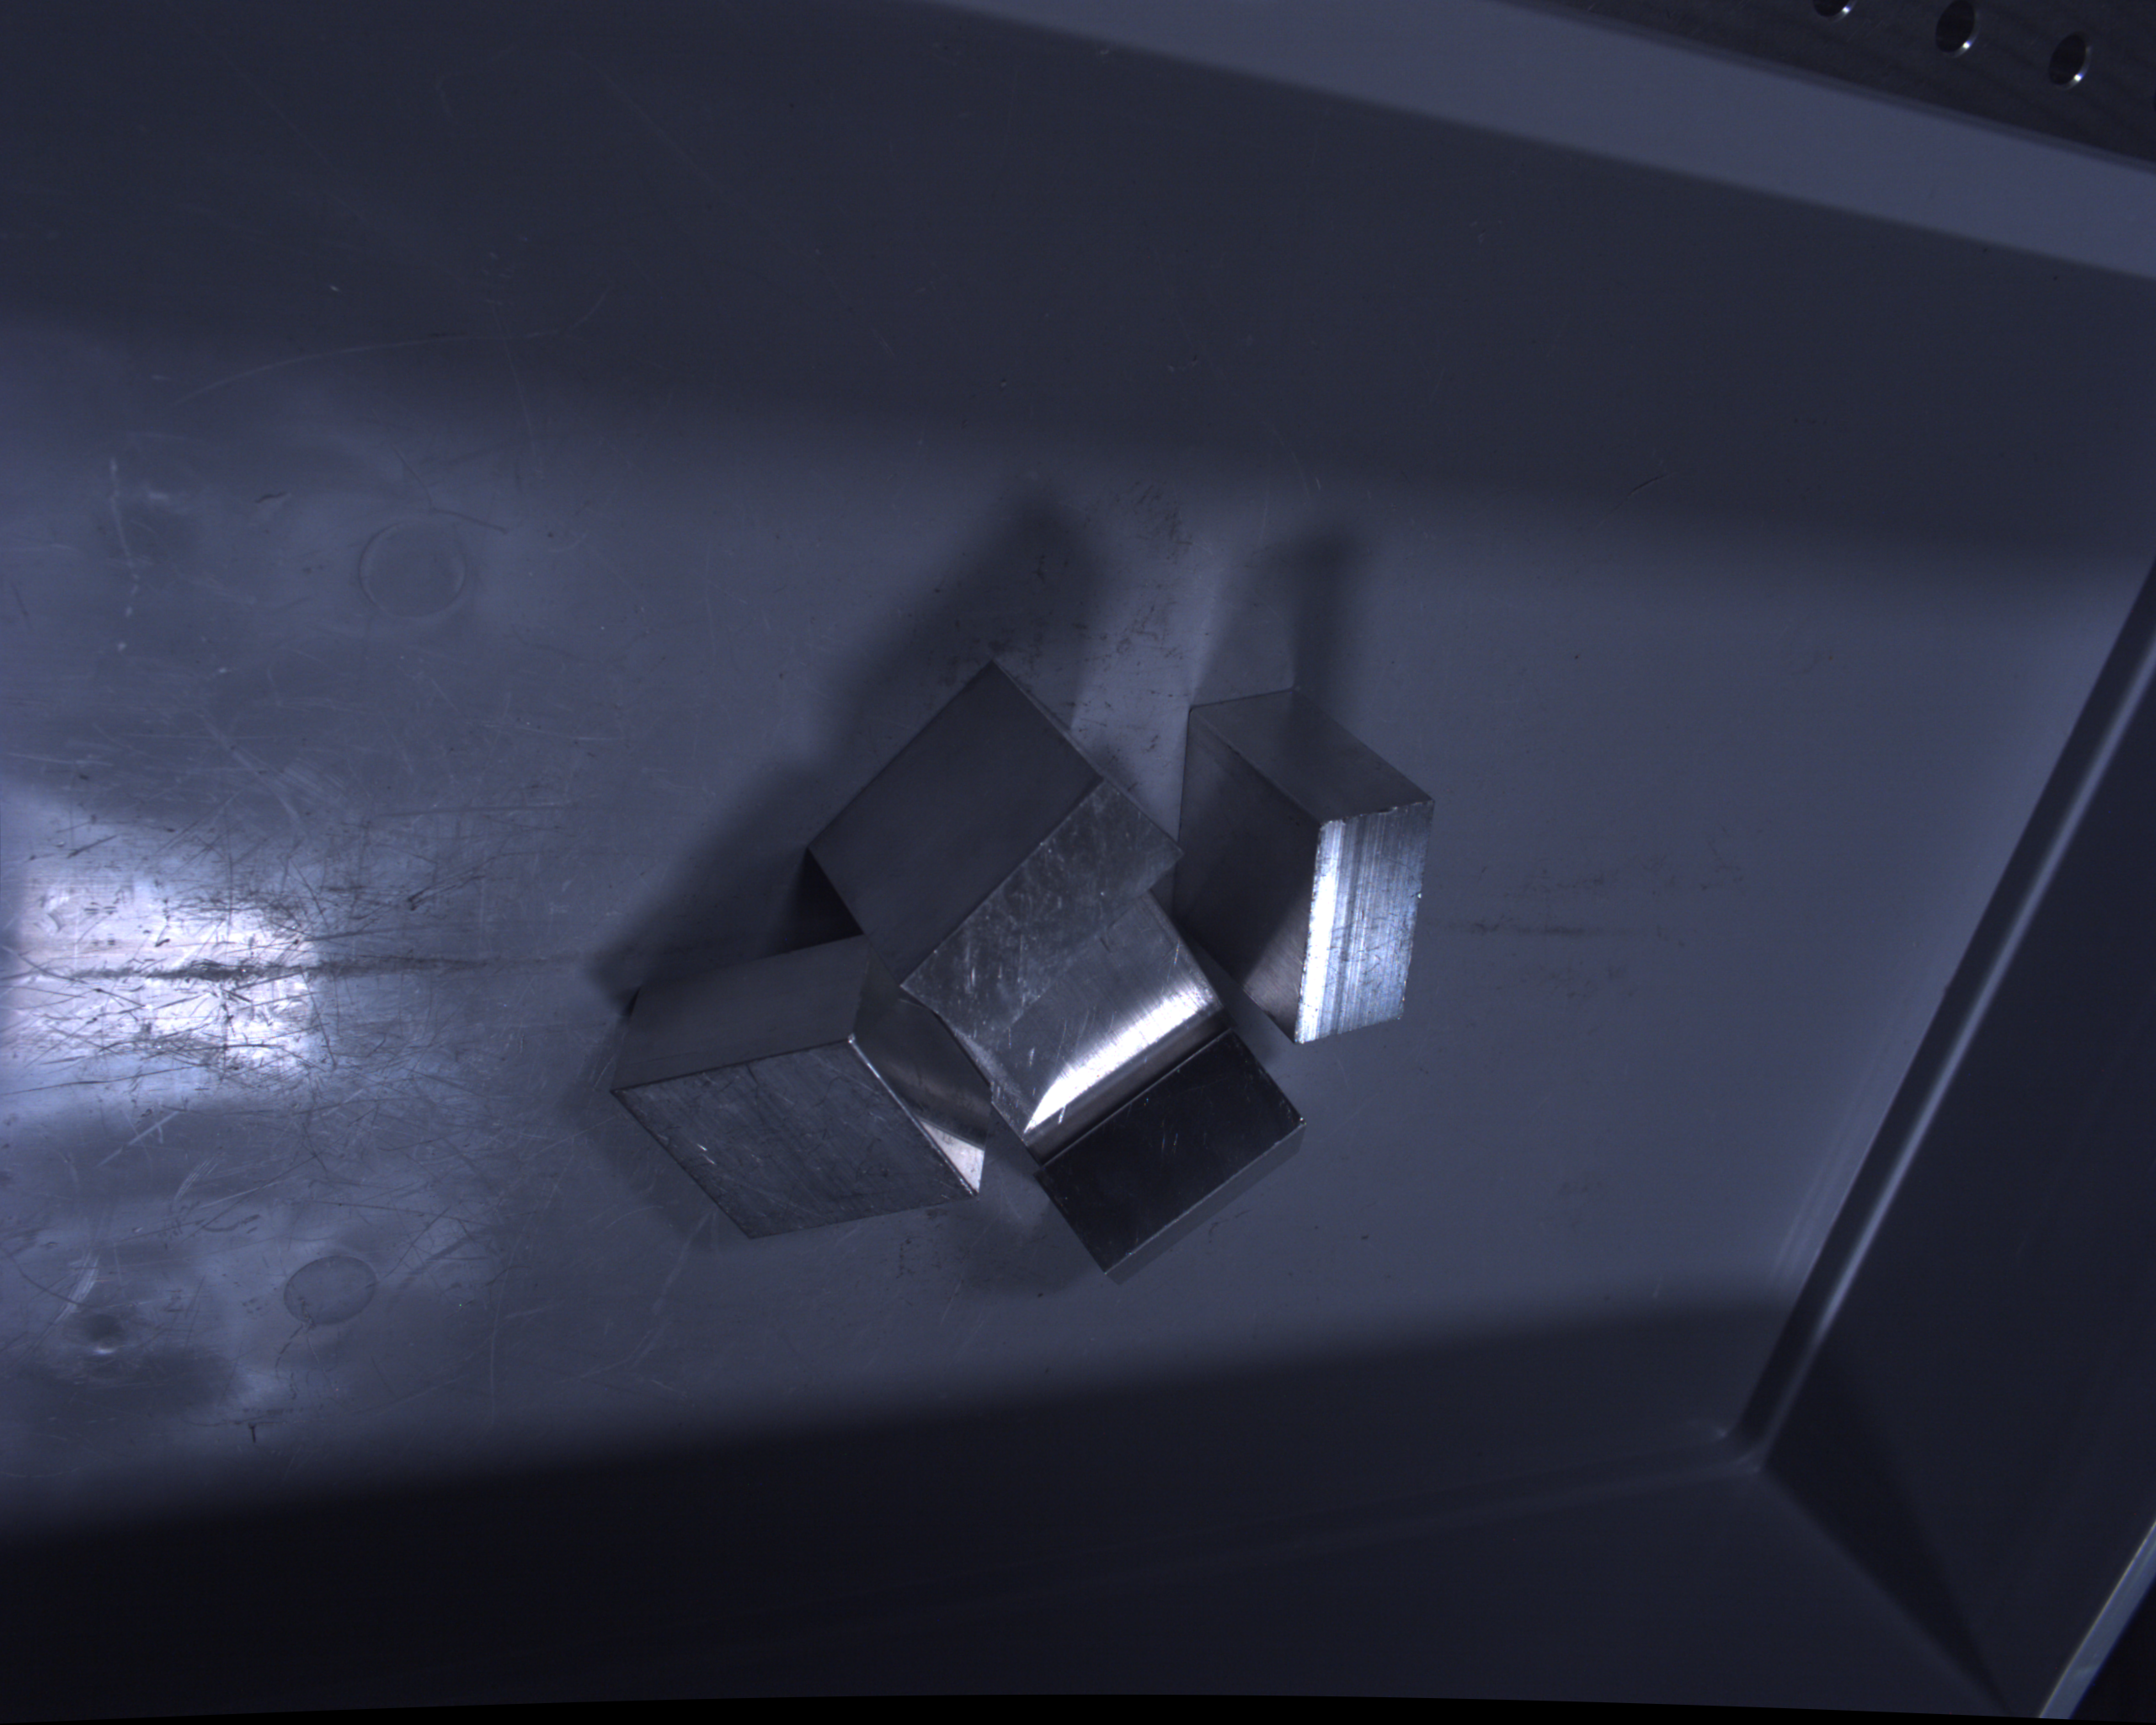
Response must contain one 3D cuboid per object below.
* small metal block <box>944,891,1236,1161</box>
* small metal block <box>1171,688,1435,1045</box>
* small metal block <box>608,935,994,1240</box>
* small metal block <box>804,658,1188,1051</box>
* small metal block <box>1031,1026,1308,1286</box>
[{"bbox_3d":[-0.004,0.026,0.421,0.050,0.025,0.050,-36,130,-4],"label":"small metal block"},{"bbox_3d":[0.043,0.000,0.415,0.025,0.050,0.050,-12,123,-24],"label":"small metal block"},{"bbox_3d":[-0.051,0.043,0.392,0.050,0.025,0.050,-14,133,20],"label":"small metal block"},{"bbox_3d":[-0.016,-0.002,0.381,0.050,0.050,0.025,-45,129,3],"label":"small metal block"},{"bbox_3d":[0.020,0.063,0.442,0.050,0.025,0.050,-36,166,-5],"label":"small metal block"}]
